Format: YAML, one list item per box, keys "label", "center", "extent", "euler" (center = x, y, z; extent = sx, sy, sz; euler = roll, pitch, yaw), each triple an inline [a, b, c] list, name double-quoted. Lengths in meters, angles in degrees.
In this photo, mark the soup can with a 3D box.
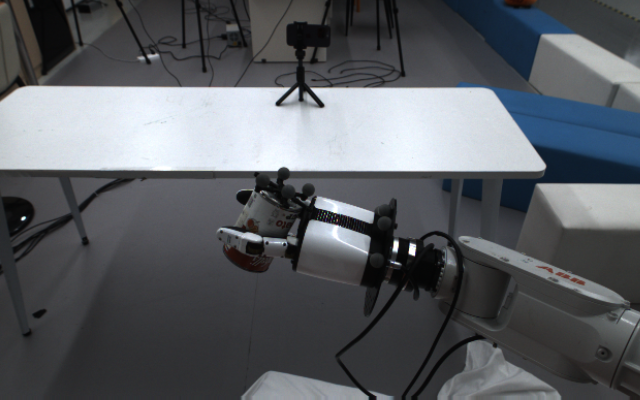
- label: "soup can"
  center: [-0.074, 0.036, 0.630]
  extent: [0.067, 0.101, 0.067]
  euler: [28, 18, -10]
